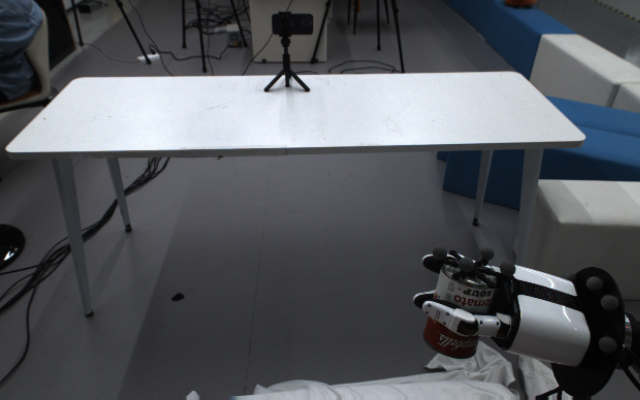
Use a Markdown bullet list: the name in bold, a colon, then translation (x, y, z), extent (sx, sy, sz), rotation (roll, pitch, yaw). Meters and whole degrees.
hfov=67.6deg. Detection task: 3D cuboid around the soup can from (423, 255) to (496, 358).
- **soup can**: translation (0.174, 0.133, 0.600), extent (0.067, 0.101, 0.067), rotation (9, 19, -3)
